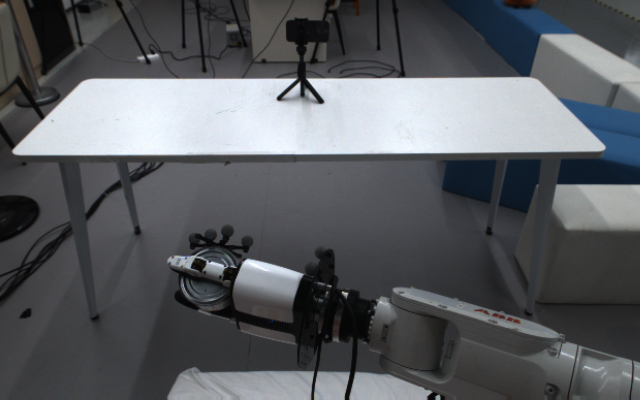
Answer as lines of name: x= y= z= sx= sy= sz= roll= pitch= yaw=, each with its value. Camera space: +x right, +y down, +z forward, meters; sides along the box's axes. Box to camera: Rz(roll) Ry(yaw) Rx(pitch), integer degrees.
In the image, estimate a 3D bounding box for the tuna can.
tuna can: x=-0.149 y=0.111 z=0.673 sx=0.085 sy=0.034 sz=0.085 roll=-3 pitch=61 yaw=5
